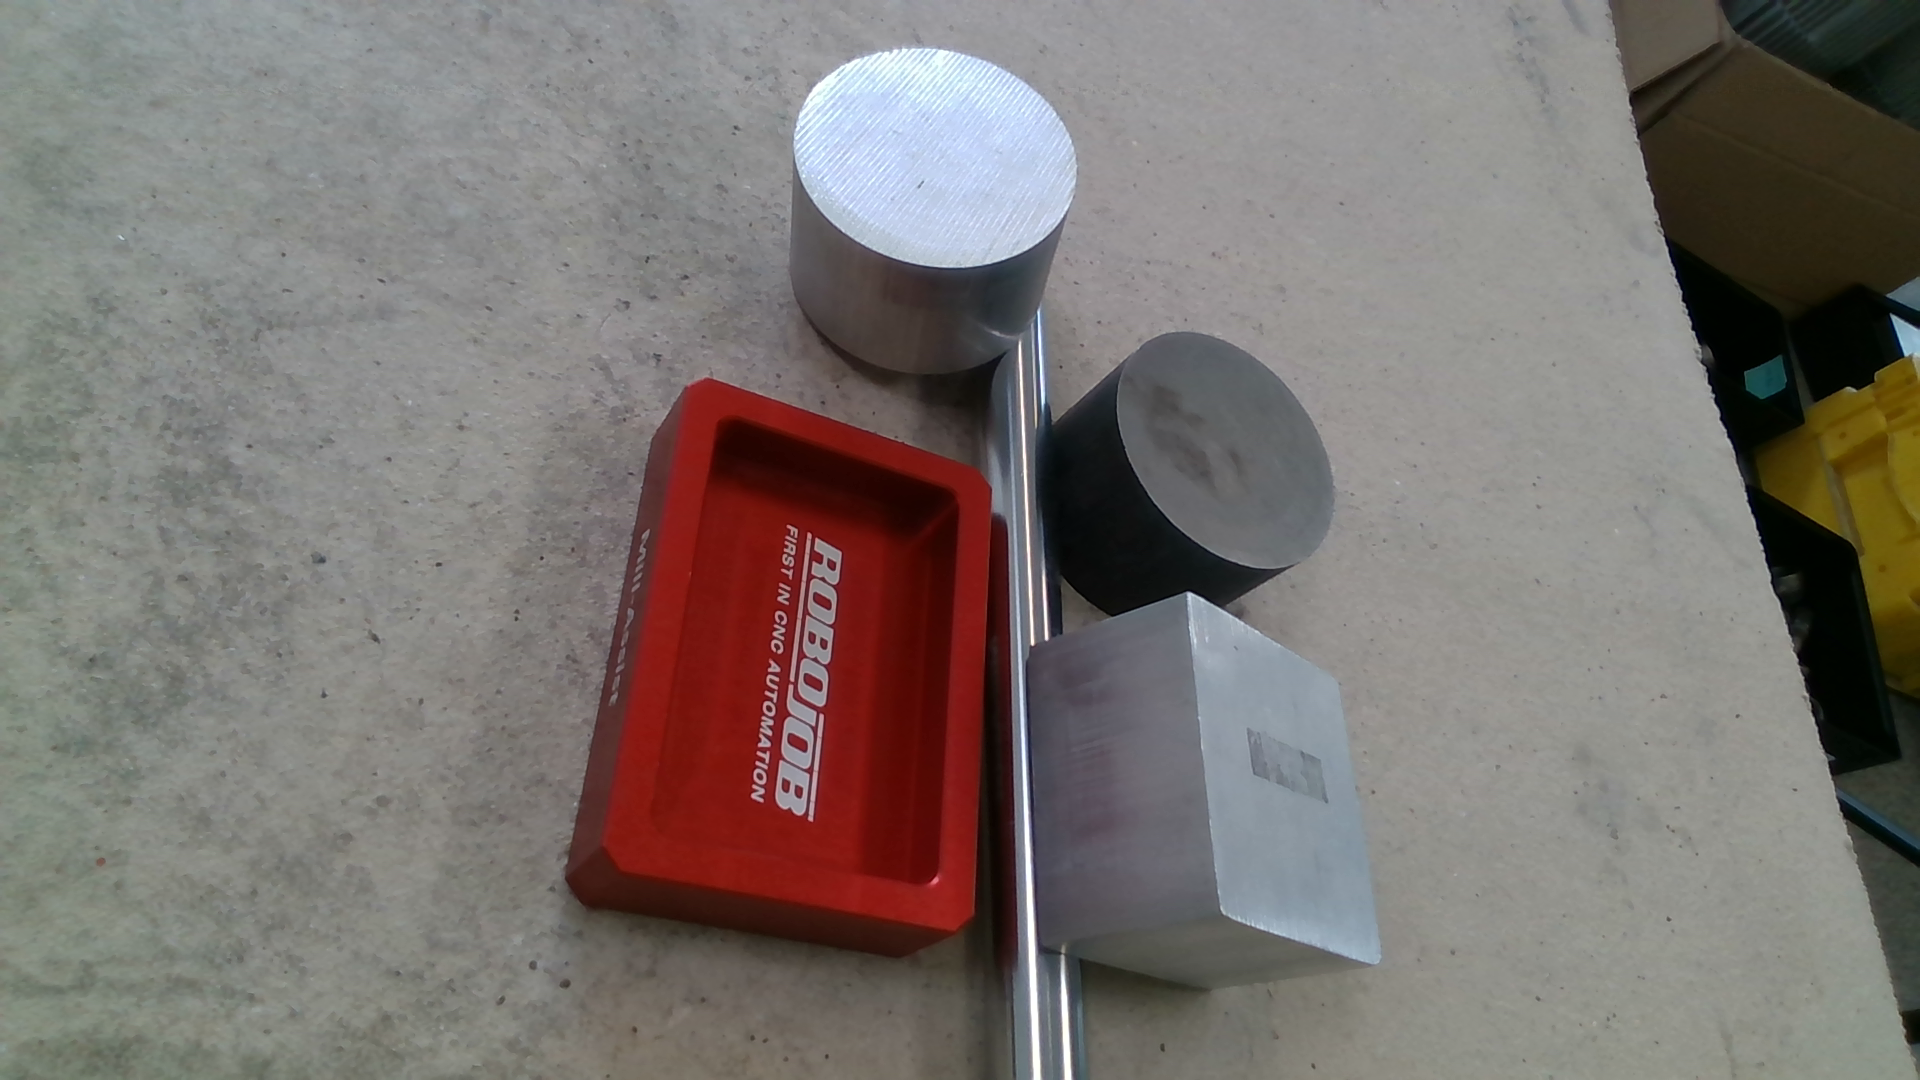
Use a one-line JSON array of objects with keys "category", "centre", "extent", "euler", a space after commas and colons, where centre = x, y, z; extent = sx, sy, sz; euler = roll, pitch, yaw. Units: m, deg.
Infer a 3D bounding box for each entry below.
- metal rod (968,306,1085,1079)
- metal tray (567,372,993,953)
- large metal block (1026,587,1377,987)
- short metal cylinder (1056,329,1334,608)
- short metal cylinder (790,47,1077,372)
[{"category": "metal rod", "centre": [0.016, 0.008, 0.401], "extent": [0.025, 0.025, 0.299], "euler": [13, 59, -25]}, {"category": "metal tray", "centre": [-0.040, 0.030, 0.349], "extent": [0.090, 0.030, 0.130], "euler": [17, 57, -23]}, {"category": "large metal block", "centre": [0.063, 0.069, 0.364], "extent": [0.080, 0.050, 0.080], "euler": [28, 51, -43]}, {"category": "short metal cylinder", "centre": [0.069, -0.018, 0.429], "extent": [0.080, 0.050, 0.080], "euler": [15, 58, -25]}, {"category": "short metal cylinder", "centre": [-0.010, -0.097, 0.408], "extent": [0.080, 0.050, 0.080], "euler": [4, 62, -7]}]
